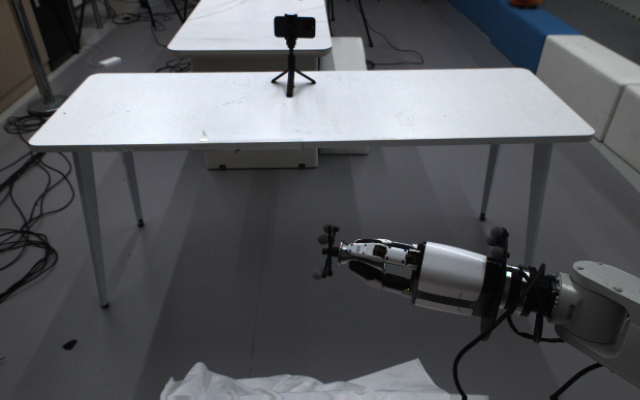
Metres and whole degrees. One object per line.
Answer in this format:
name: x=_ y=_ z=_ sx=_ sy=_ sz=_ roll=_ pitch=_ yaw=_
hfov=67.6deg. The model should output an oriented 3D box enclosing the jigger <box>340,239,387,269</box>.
jigger: x=0.071 y=0.079 z=0.720 sx=0.071 sy=0.043 sz=0.043 roll=6 pitch=35 yaw=13
